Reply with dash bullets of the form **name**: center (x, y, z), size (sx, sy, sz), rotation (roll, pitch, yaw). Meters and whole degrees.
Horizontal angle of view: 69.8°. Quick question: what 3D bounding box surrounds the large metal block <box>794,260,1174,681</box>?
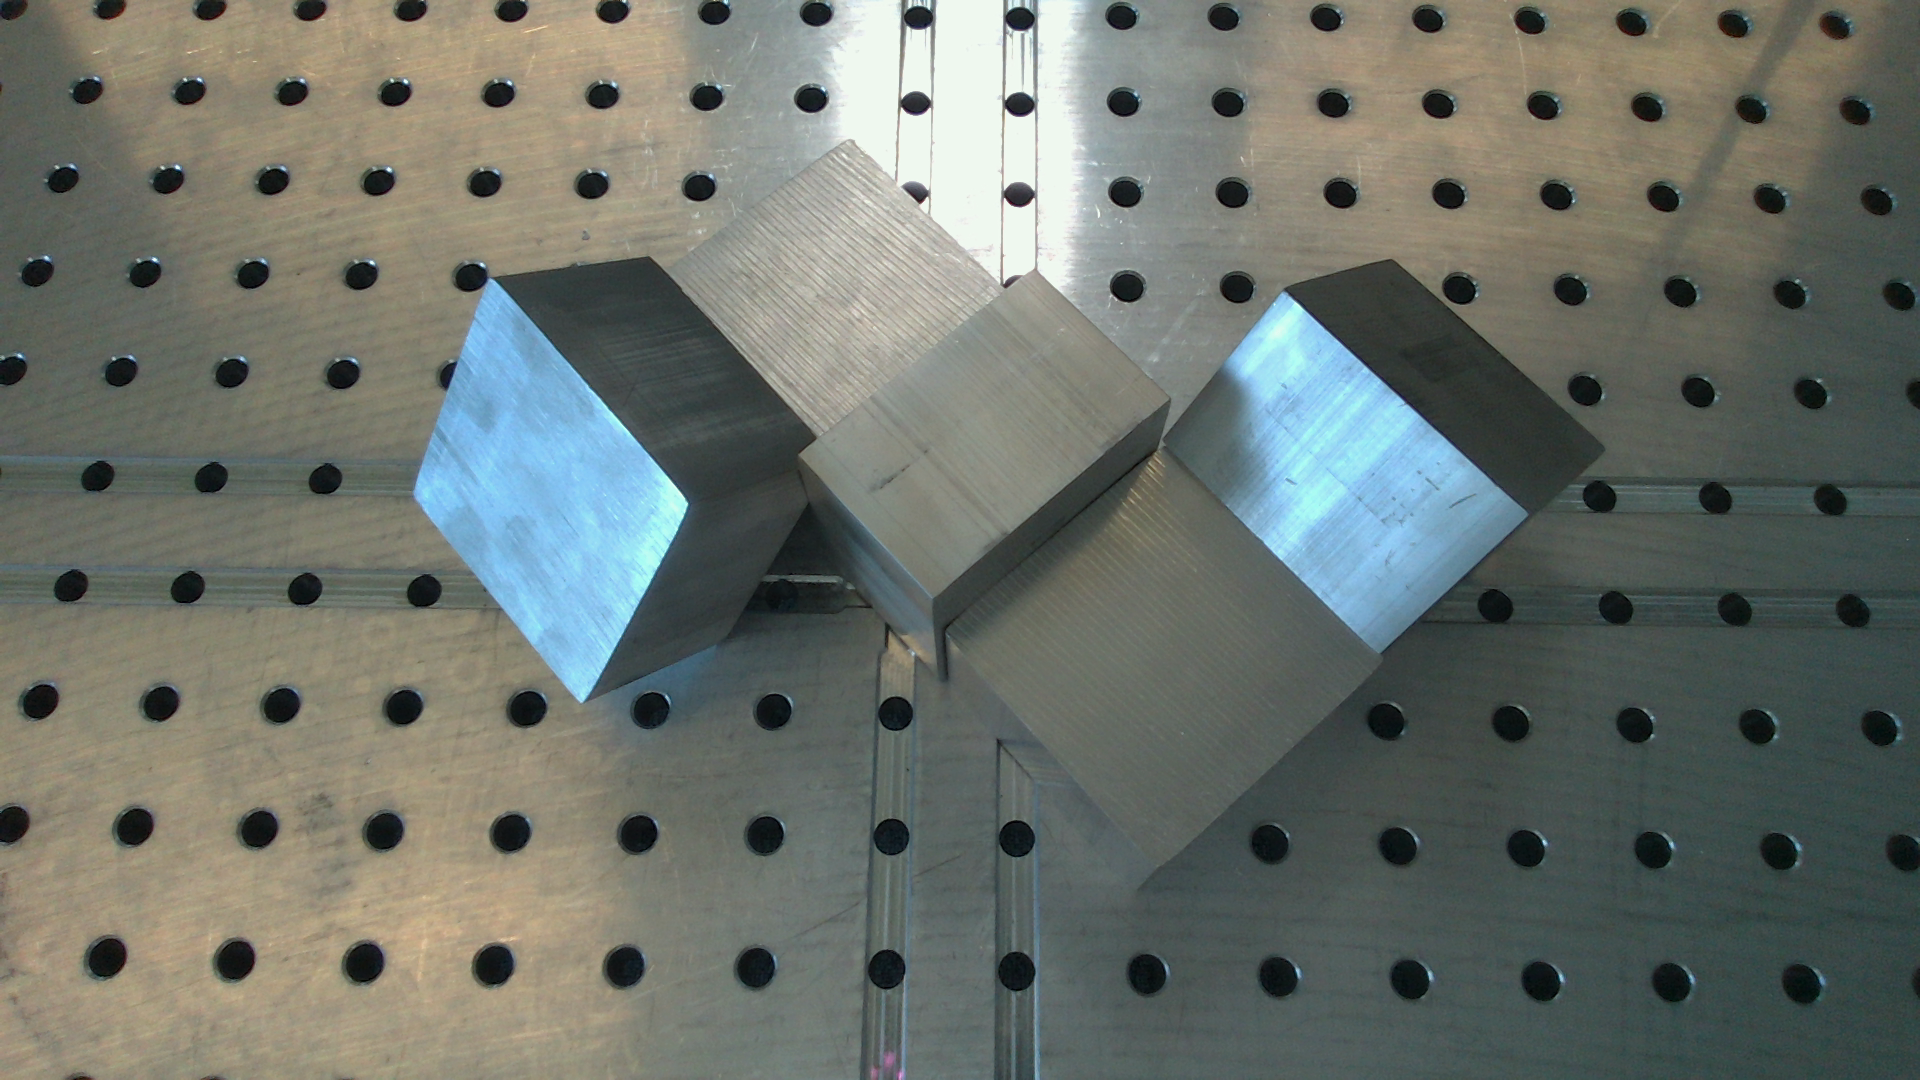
- **large metal block**: center (0.006, -0.015, 0.373), size (0.080, 0.080, 0.050), rotation (-40, 76, -13)

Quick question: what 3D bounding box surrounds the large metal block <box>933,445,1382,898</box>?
- **large metal block**: center (0.050, 0.036, 0.370), size (0.080, 0.050, 0.080), rotation (-39, 73, -13)

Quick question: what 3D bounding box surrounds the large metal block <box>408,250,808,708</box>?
- **large metal block**: center (-0.093, -0.017, 0.366), size (0.080, 0.080, 0.050), rotation (47, 38, 15)

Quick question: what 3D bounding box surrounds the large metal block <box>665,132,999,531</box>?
- **large metal block**: center (-0.036, -0.057, 0.404), size (0.080, 0.050, 0.080), rotation (-40, 75, -12)

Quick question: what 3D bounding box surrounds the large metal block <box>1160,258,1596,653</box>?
- **large metal block**: center (0.114, -0.027, 0.371), size (0.080, 0.050, 0.080), rotation (47, 36, 15)
